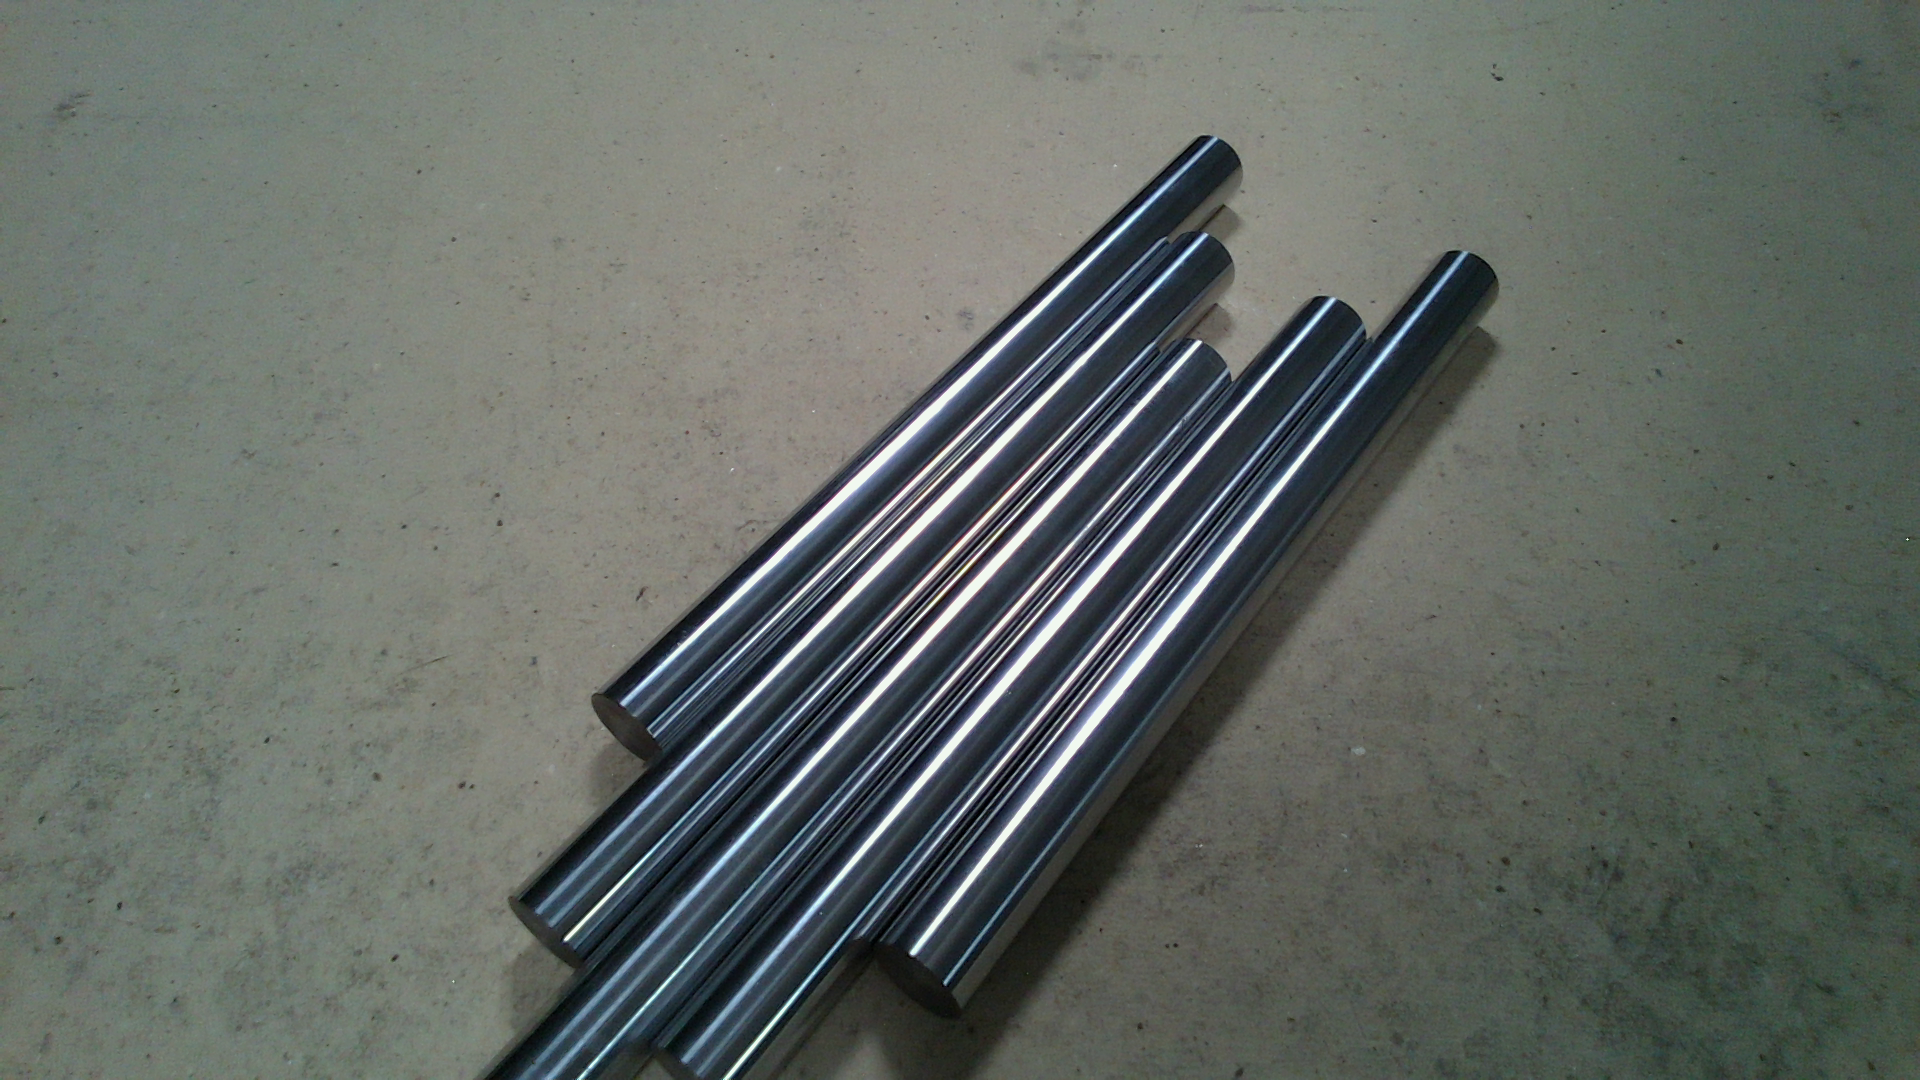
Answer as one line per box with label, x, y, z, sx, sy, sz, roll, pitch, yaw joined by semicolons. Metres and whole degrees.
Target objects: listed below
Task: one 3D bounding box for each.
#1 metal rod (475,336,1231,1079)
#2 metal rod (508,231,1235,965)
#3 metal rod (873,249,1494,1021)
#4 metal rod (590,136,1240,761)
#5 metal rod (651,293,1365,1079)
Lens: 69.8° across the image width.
metal rod;-0.013;0.039;0.359;0.025;0.025;0.301;29;56;22
metal rod;-0.006;-0.002;0.394;0.025;0.025;0.301;29;56;22
metal rod;0.079;0.006;0.386;0.025;0.025;0.301;29;56;22
metal rod;0.003;-0.044;0.429;0.025;0.025;0.301;29;56;22
metal rod;0.032;0.023;0.372;0.025;0.025;0.301;29;56;22
